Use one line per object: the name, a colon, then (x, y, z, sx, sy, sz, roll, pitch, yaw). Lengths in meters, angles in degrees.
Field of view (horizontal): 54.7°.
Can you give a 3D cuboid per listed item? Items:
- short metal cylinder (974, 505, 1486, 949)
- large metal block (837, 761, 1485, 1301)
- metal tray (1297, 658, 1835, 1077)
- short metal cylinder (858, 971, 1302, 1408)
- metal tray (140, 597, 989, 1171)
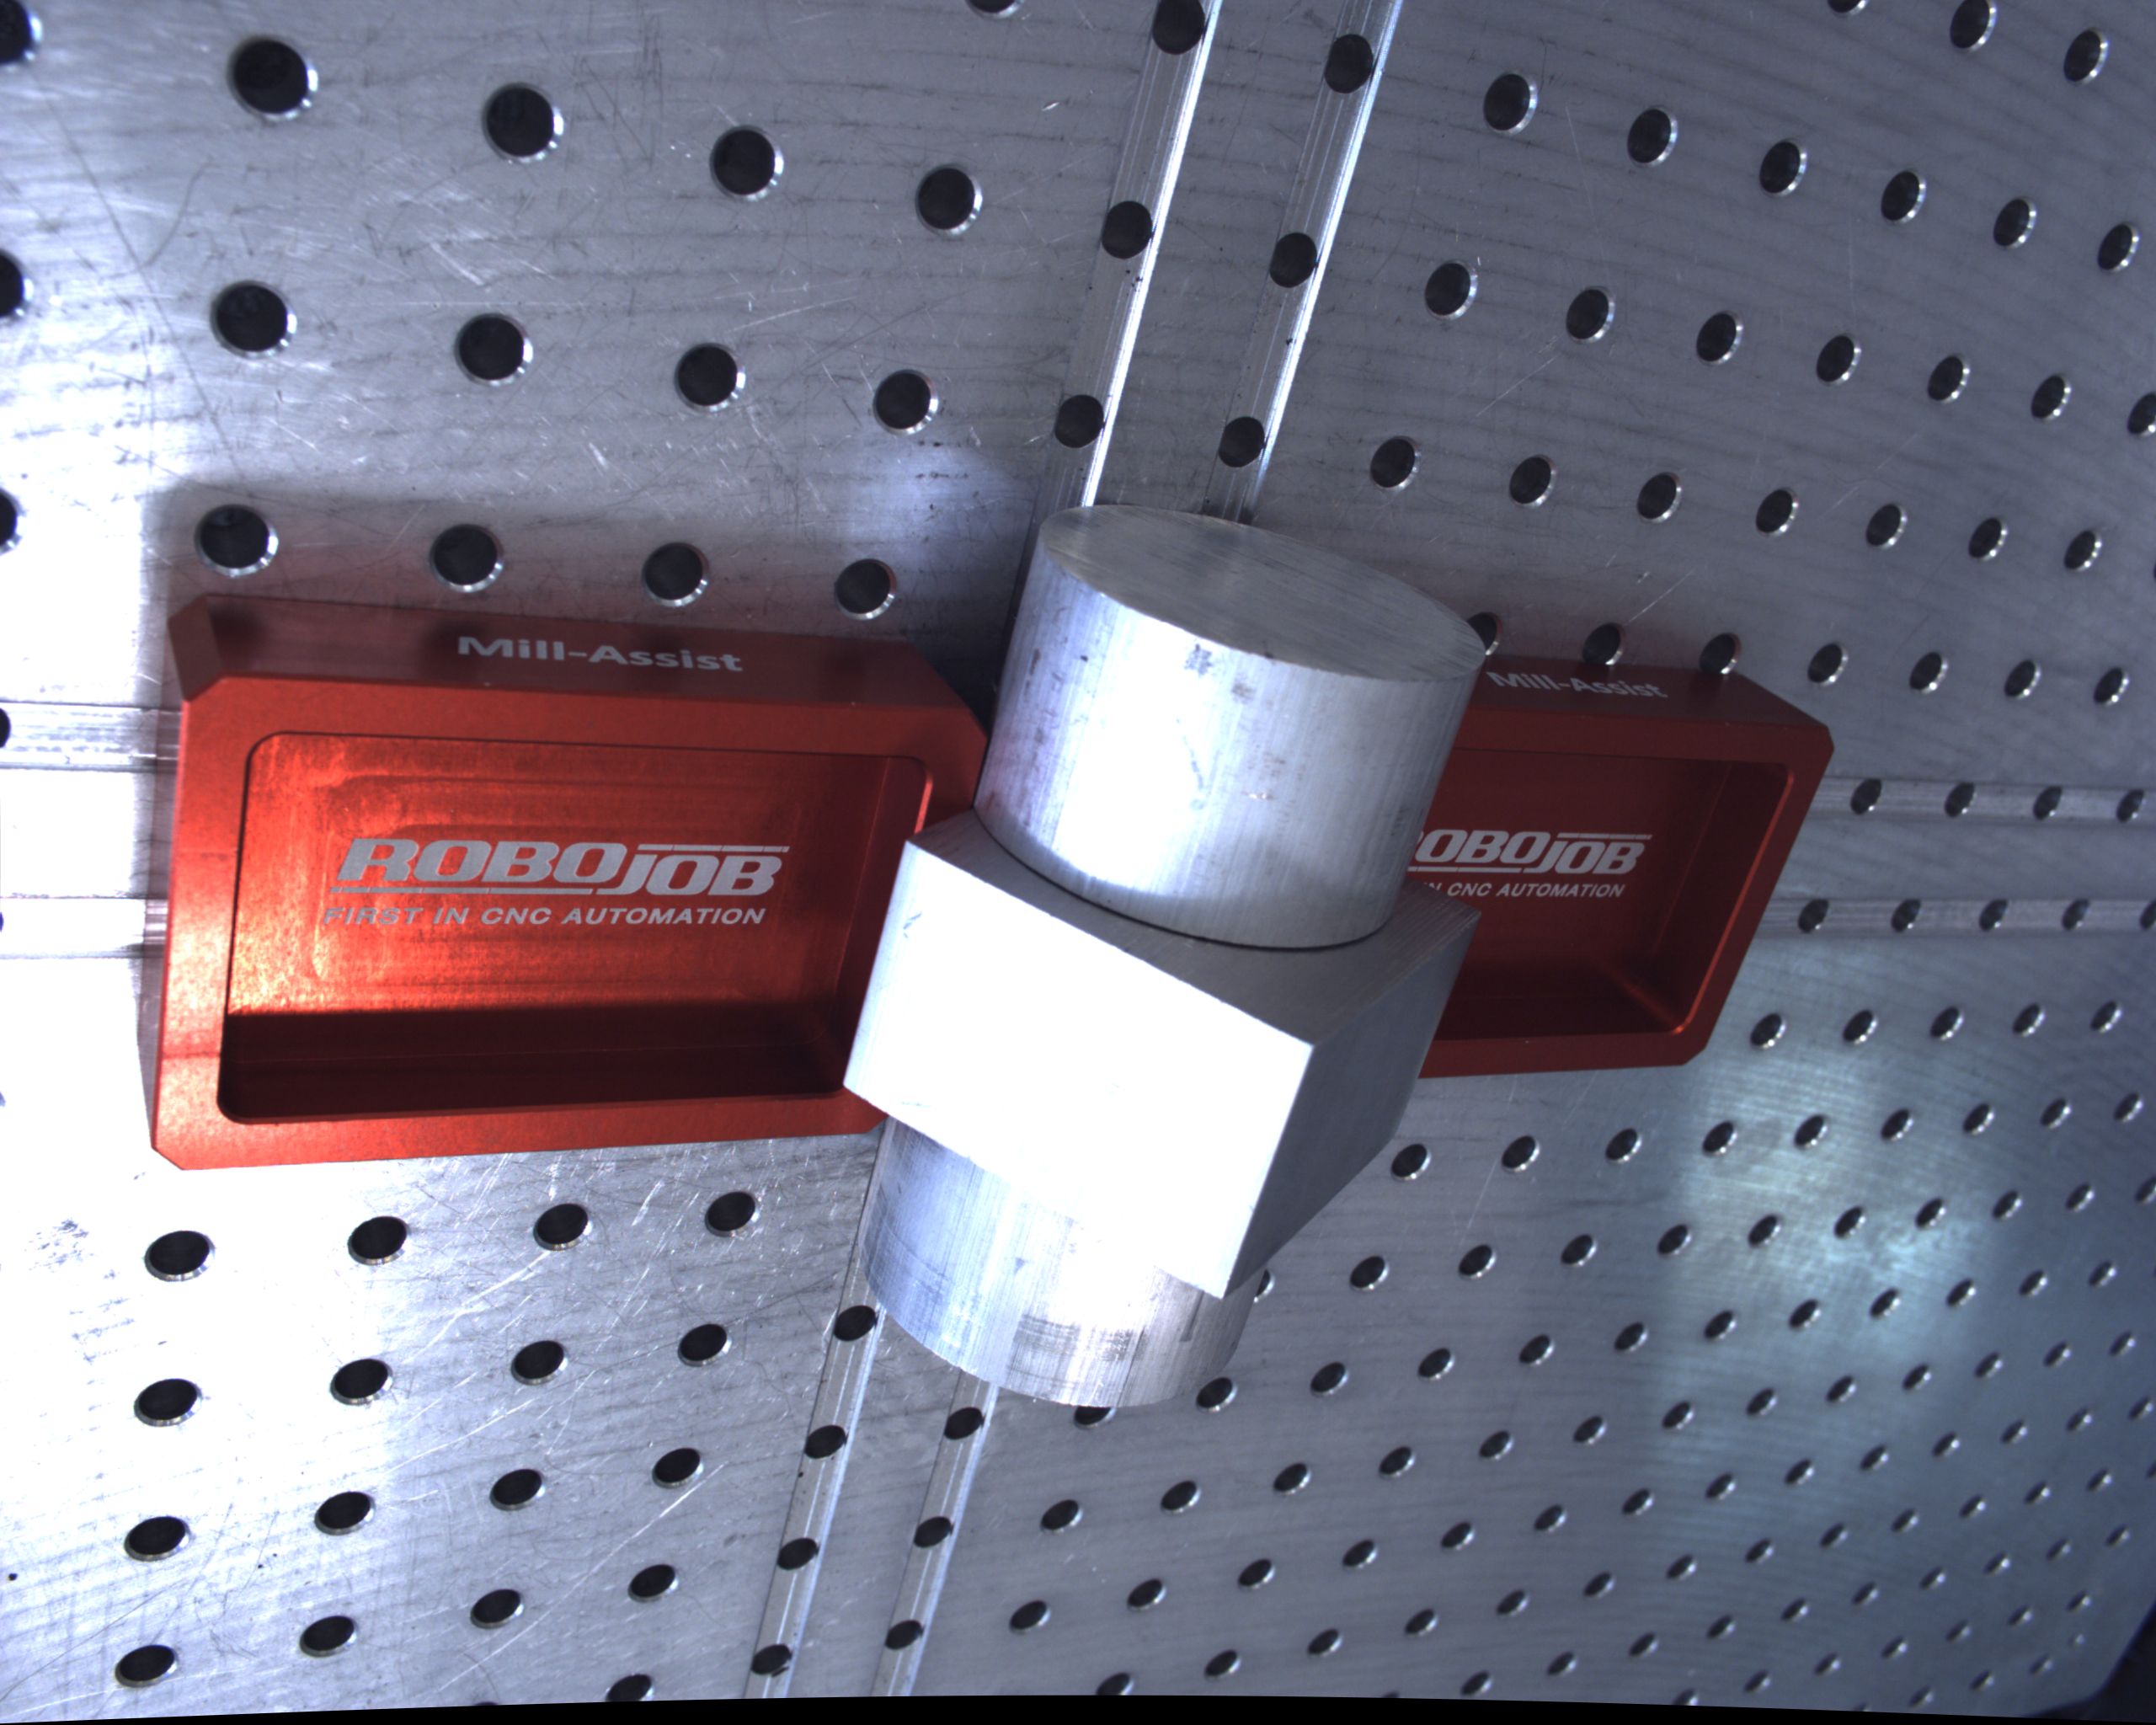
short metal cylinder: (0.026, -0.026, 0.373, 0.081, 0.080, 0.050, 1, 118, -29)
large metal block: (0.017, 0.024, 0.381, 0.080, 0.080, 0.050, -26, 137, -57)
metal tray: (0.096, 0.002, 0.461, 0.131, 0.030, 0.089, 1, 118, -29)
short metal cylinder: (0.001, 0.062, 0.414, 0.081, 0.080, 0.050, 2, 118, -29)
metal tray: (-0.089, 0.005, 0.362, 0.131, 0.030, 0.089, 1, 118, -29)
